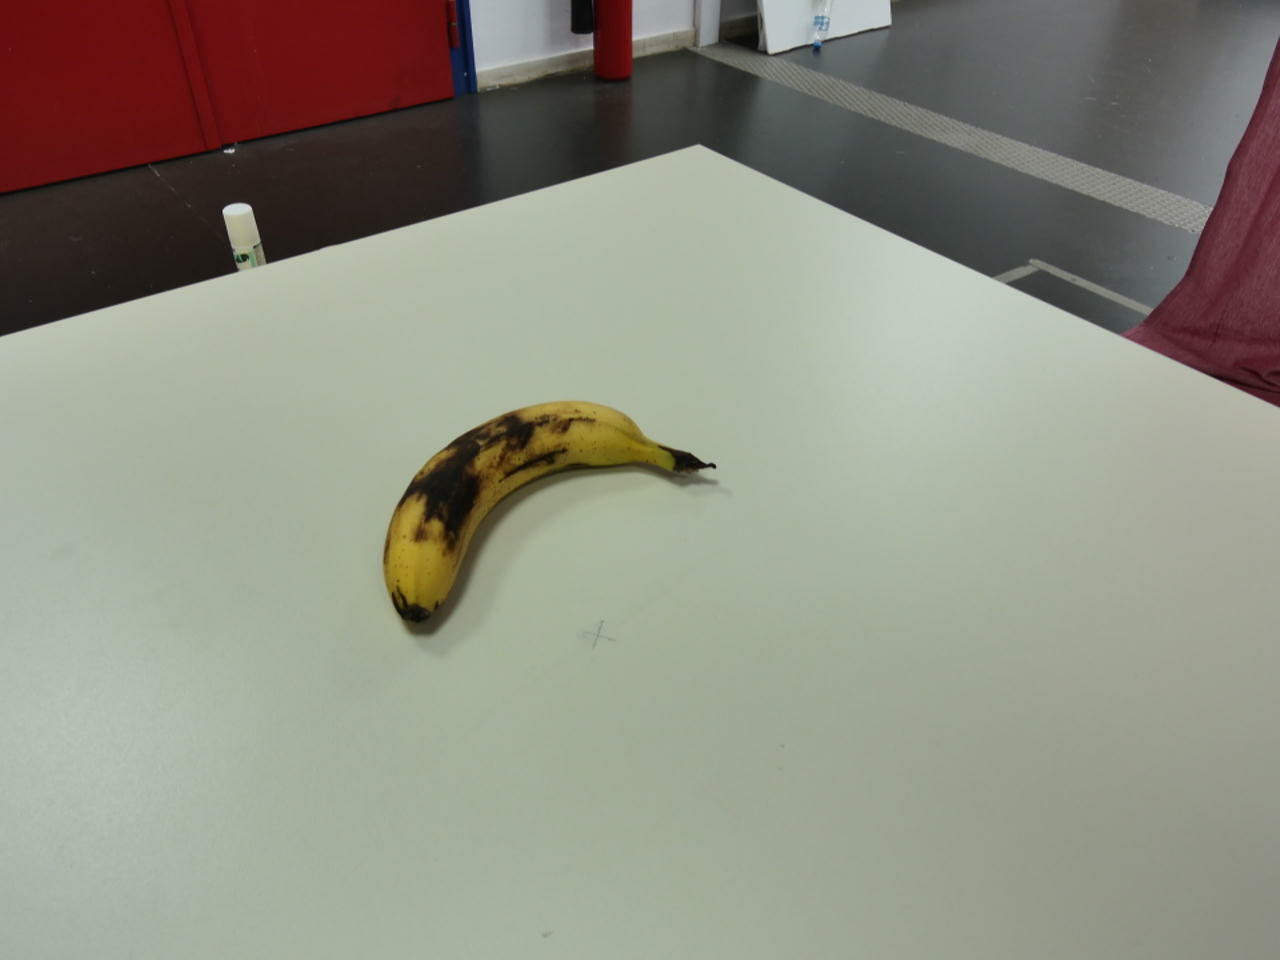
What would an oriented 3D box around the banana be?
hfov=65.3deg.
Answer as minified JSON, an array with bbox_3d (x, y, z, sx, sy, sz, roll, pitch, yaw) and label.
[{"bbox_3d":[-0.062,0.002,0.520,0.187,0.039,0.094,-26,45,-31],"label":"banana"}]
